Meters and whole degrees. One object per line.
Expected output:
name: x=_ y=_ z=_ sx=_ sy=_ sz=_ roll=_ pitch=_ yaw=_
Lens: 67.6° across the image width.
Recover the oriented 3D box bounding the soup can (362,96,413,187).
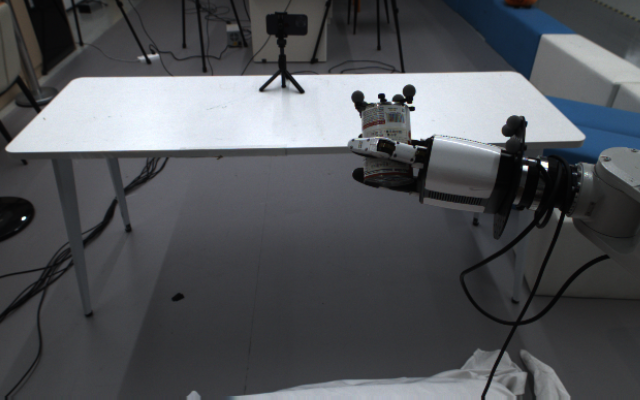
soup can: x=0.092 y=-0.073 z=0.653 sx=0.067 sy=0.101 sz=0.067 roll=-1 pitch=-9 yaw=0
